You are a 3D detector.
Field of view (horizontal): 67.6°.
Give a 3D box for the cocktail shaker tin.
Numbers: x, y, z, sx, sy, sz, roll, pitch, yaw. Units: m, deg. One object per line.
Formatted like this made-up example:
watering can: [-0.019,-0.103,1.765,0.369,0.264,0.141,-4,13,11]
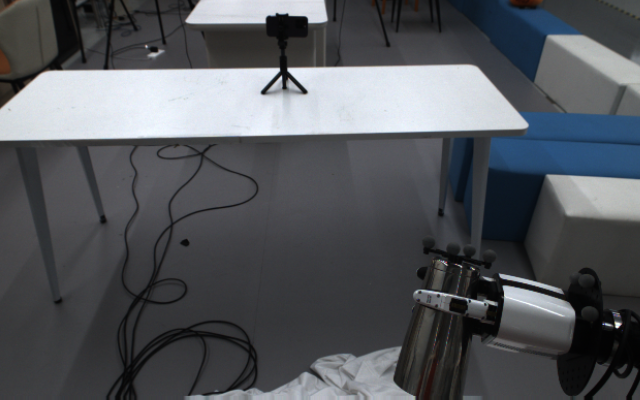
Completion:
cocktail shaker tin: [0.164,0.163,0.643,0.093,0.170,0.093,13,2,0]
